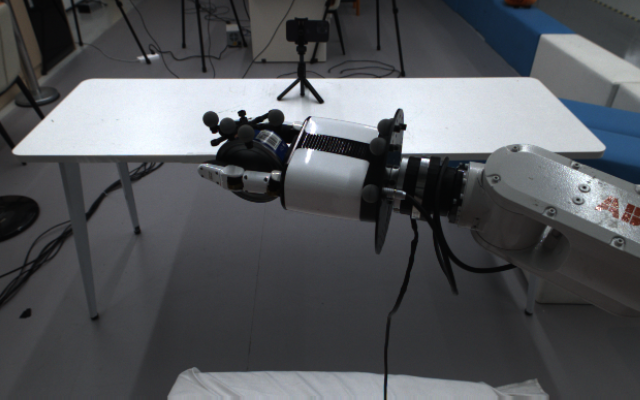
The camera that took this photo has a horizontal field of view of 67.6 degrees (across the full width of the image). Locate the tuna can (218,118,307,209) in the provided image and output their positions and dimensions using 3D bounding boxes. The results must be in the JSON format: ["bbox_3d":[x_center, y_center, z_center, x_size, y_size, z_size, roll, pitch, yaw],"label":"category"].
[{"bbox_3d":[-0.072,-0.041,0.558,0.085,0.085,0.034,11,39,13],"label":"tuna can"}]
